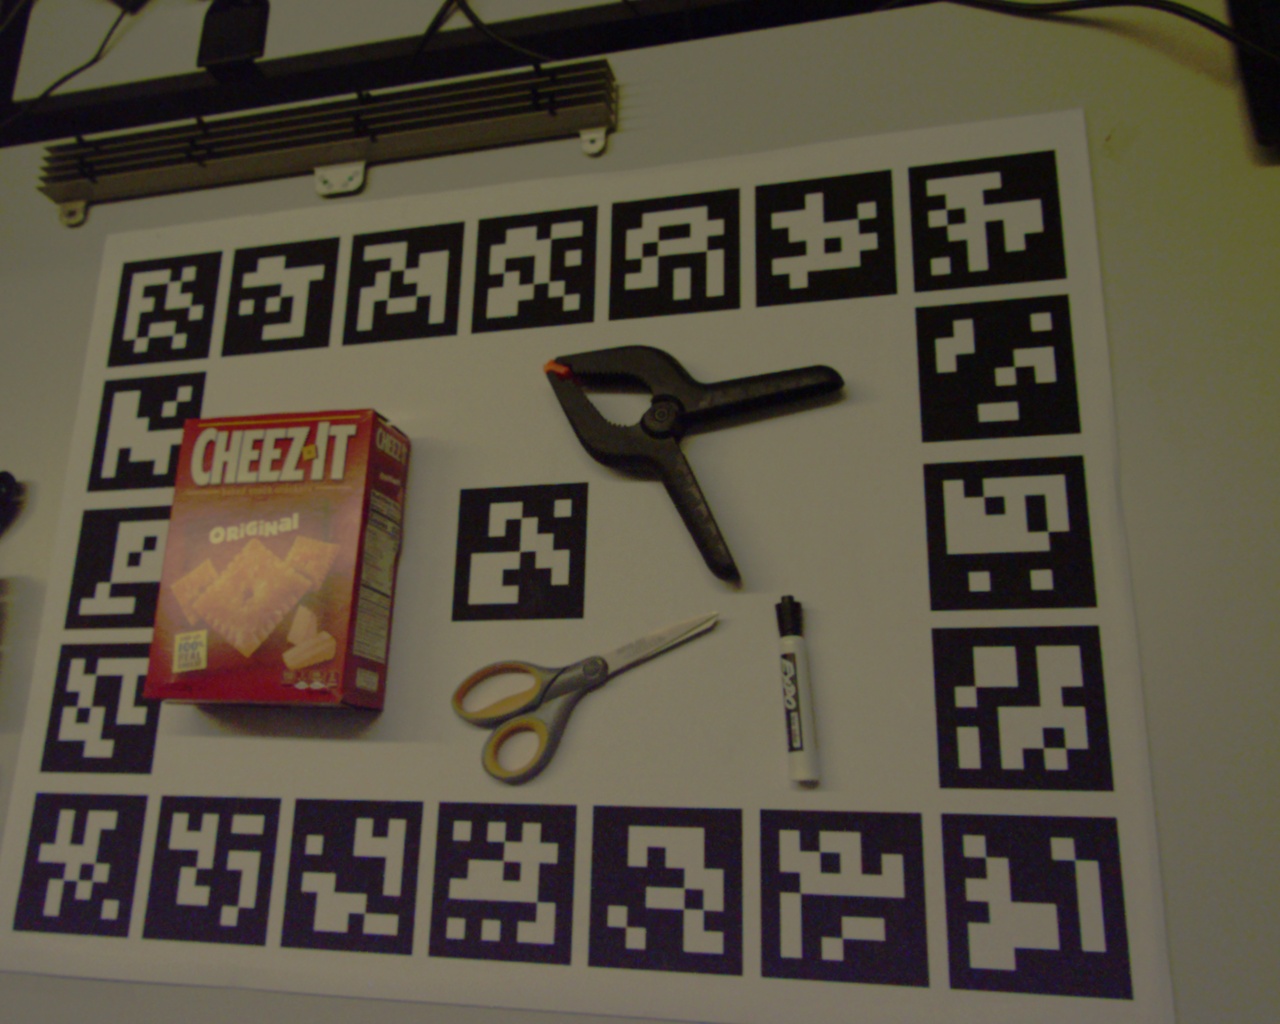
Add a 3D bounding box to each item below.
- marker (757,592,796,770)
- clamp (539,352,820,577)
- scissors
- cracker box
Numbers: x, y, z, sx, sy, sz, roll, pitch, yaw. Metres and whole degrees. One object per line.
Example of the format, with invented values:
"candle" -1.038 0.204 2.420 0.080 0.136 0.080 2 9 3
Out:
"marker" 0.093 0.114 0.781 0.020 0.019 0.121 -7 71 14
"clamp" 0.009 -0.065 0.865 0.205 0.036 0.165 28 82 21
"scissors" -0.045 0.117 0.821 0.203 0.016 0.088 -30 67 3
"cracker box" -0.274 0.044 0.883 0.165 0.071 0.214 -2 73 16
